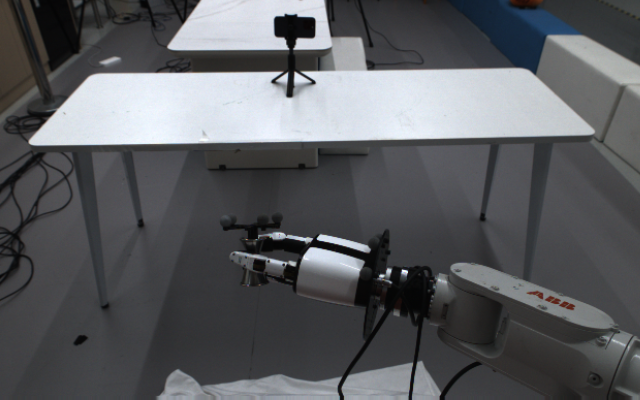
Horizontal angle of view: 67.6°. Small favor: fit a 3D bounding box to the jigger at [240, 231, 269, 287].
[{"bbox_3d":[-0.098,0.089,0.714,0.043,0.071,0.043,-2,3,0],"label":"jigger"}]
